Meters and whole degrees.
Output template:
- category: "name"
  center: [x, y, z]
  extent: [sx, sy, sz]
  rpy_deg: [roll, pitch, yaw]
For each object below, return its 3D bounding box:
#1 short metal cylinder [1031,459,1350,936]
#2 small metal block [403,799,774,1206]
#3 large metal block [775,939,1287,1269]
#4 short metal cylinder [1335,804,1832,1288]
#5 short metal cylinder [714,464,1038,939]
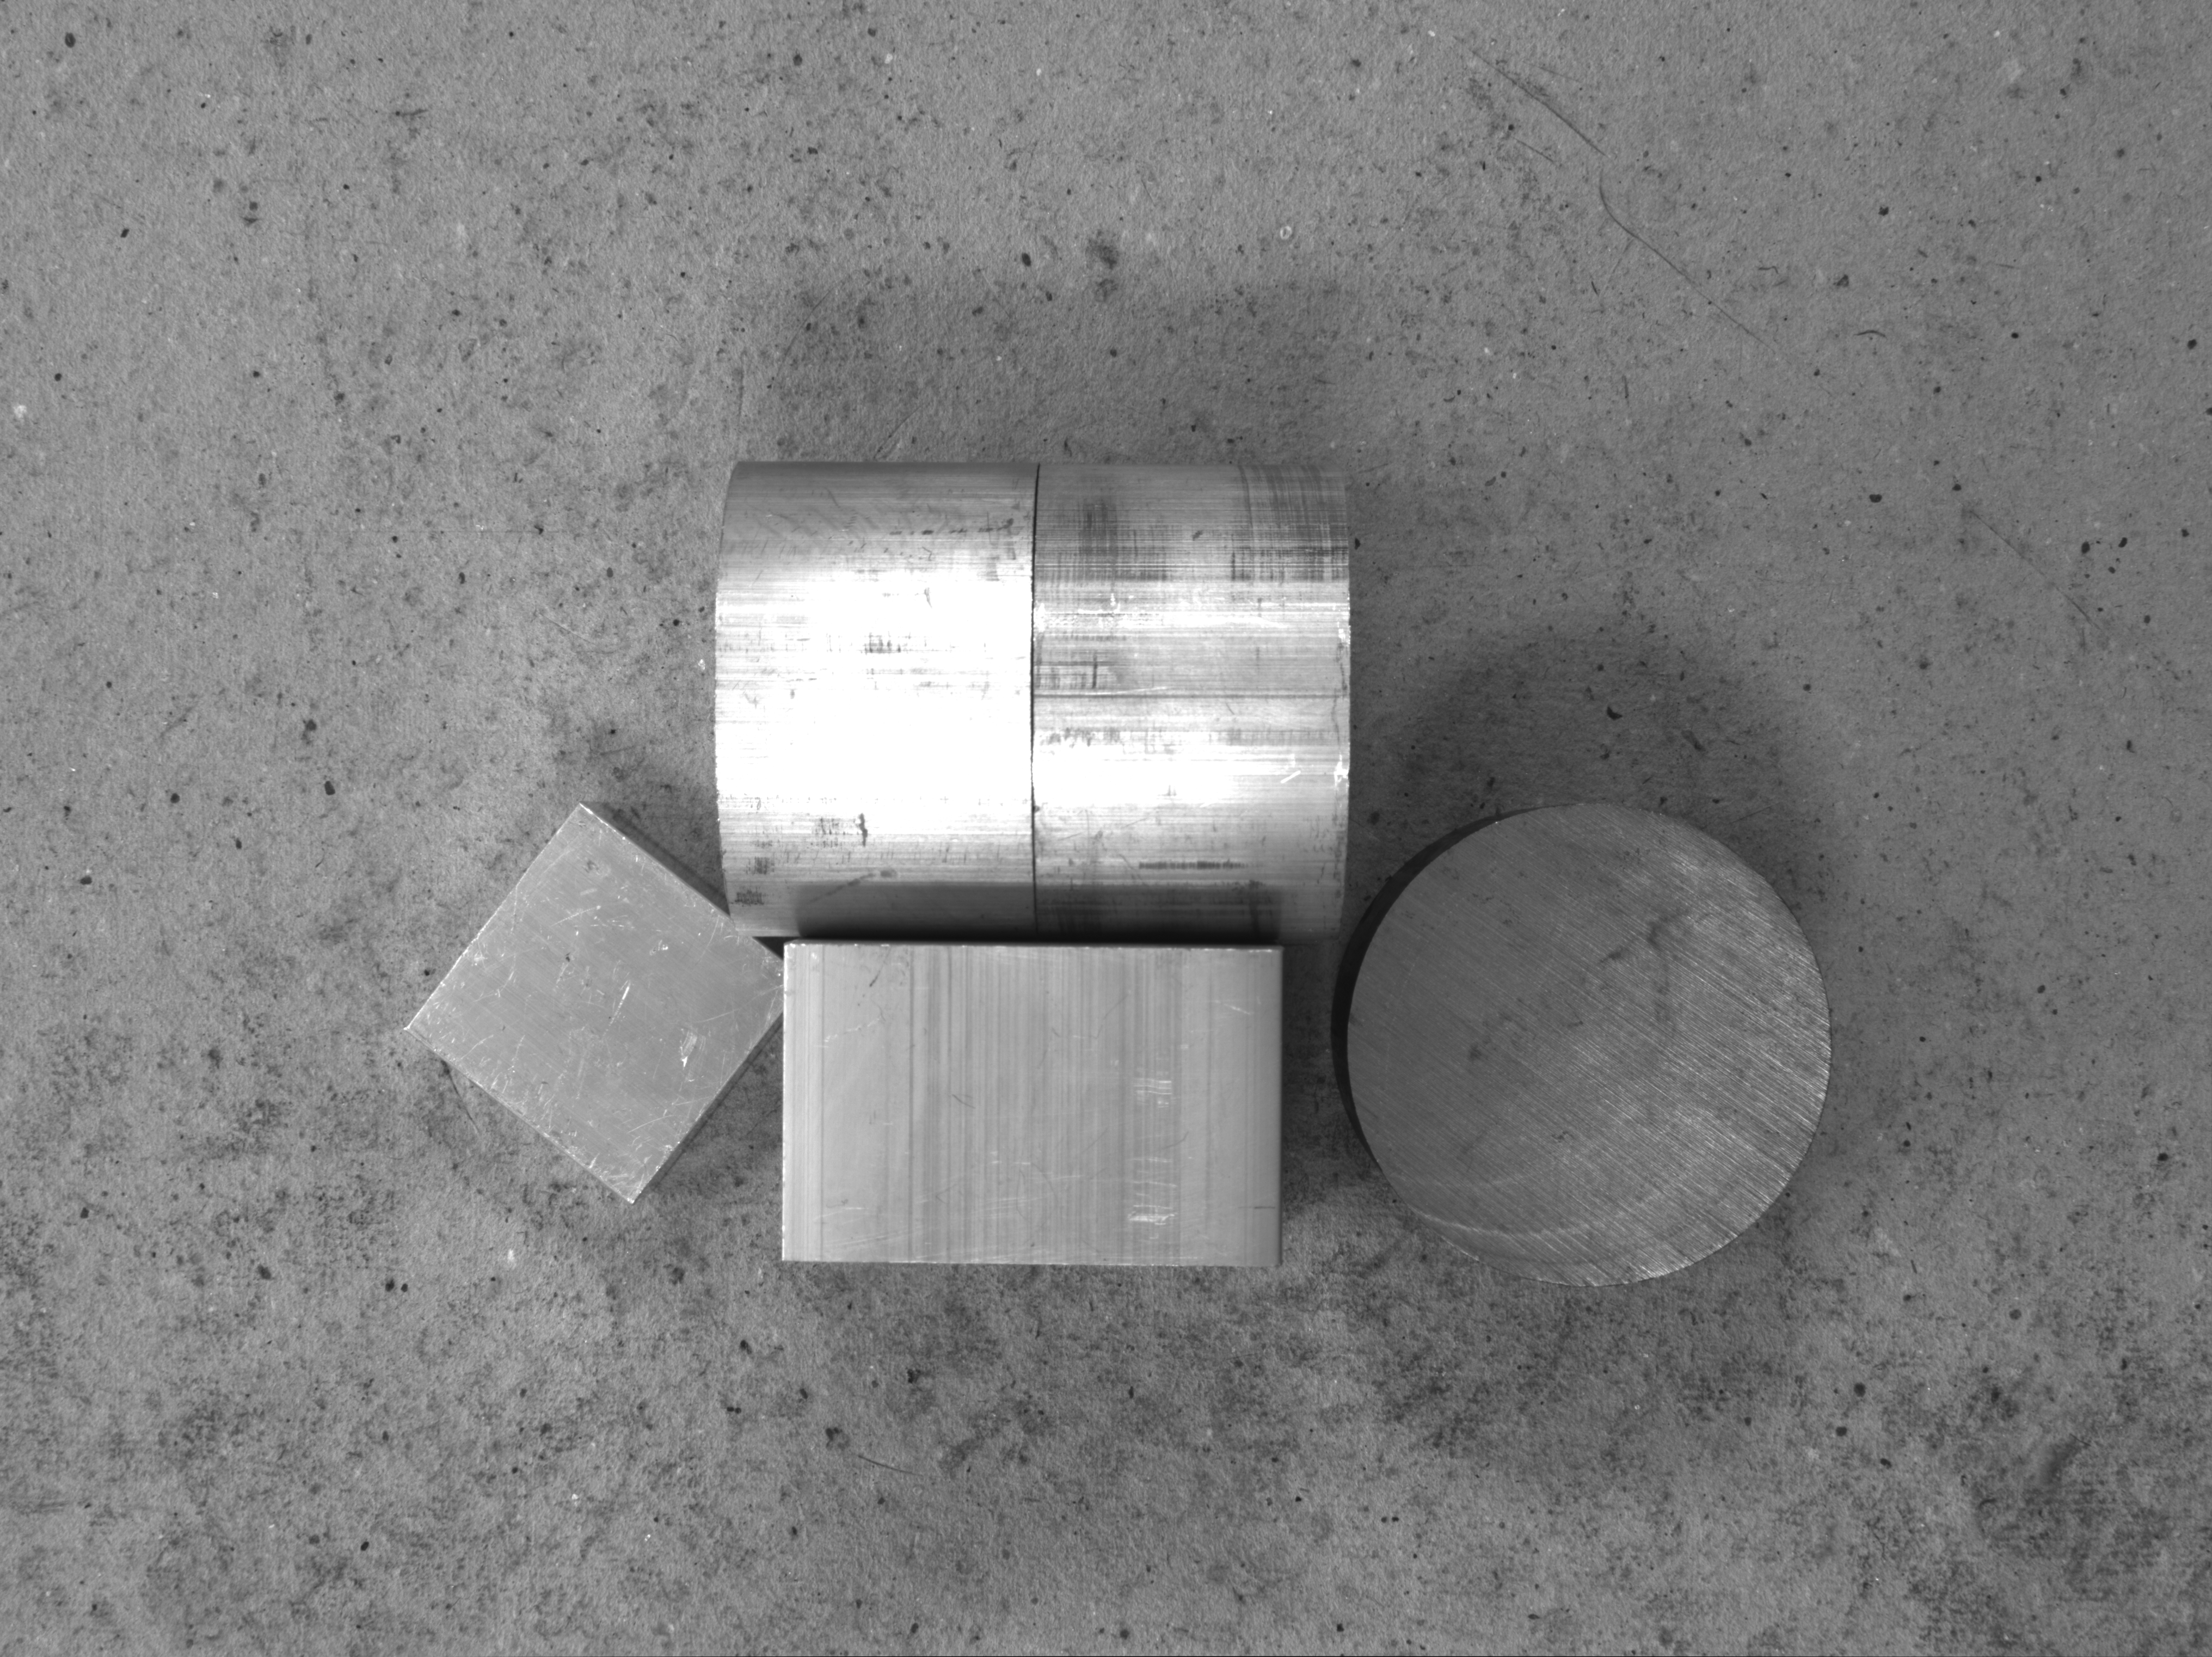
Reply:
- category: "short metal cylinder"
  center: [0.014, -0.022, 0.619]
  extent: [0.050, 0.080, 0.080]
  rpy_deg: [1, 90, 0]
- category: "small metal block"
  center: [-0.086, 0.030, 0.647]
  extent: [0.050, 0.025, 0.050]
  rpy_deg: [38, 90, 0]
- category: "large metal block"
  center: [-0.012, 0.044, 0.619]
  extent: [0.080, 0.080, 0.050]
  rpy_deg: [1, 90, 0]
- category: "short metal cylinder"
  center: [0.080, 0.036, 0.633]
  extent: [0.080, 0.050, 0.080]
  rpy_deg: [0, 90, 0]
- category: "short metal cylinder"
  center: [-0.037, -0.021, 0.619]
  extent: [0.050, 0.080, 0.080]
  rpy_deg: [1, 90, 0]
